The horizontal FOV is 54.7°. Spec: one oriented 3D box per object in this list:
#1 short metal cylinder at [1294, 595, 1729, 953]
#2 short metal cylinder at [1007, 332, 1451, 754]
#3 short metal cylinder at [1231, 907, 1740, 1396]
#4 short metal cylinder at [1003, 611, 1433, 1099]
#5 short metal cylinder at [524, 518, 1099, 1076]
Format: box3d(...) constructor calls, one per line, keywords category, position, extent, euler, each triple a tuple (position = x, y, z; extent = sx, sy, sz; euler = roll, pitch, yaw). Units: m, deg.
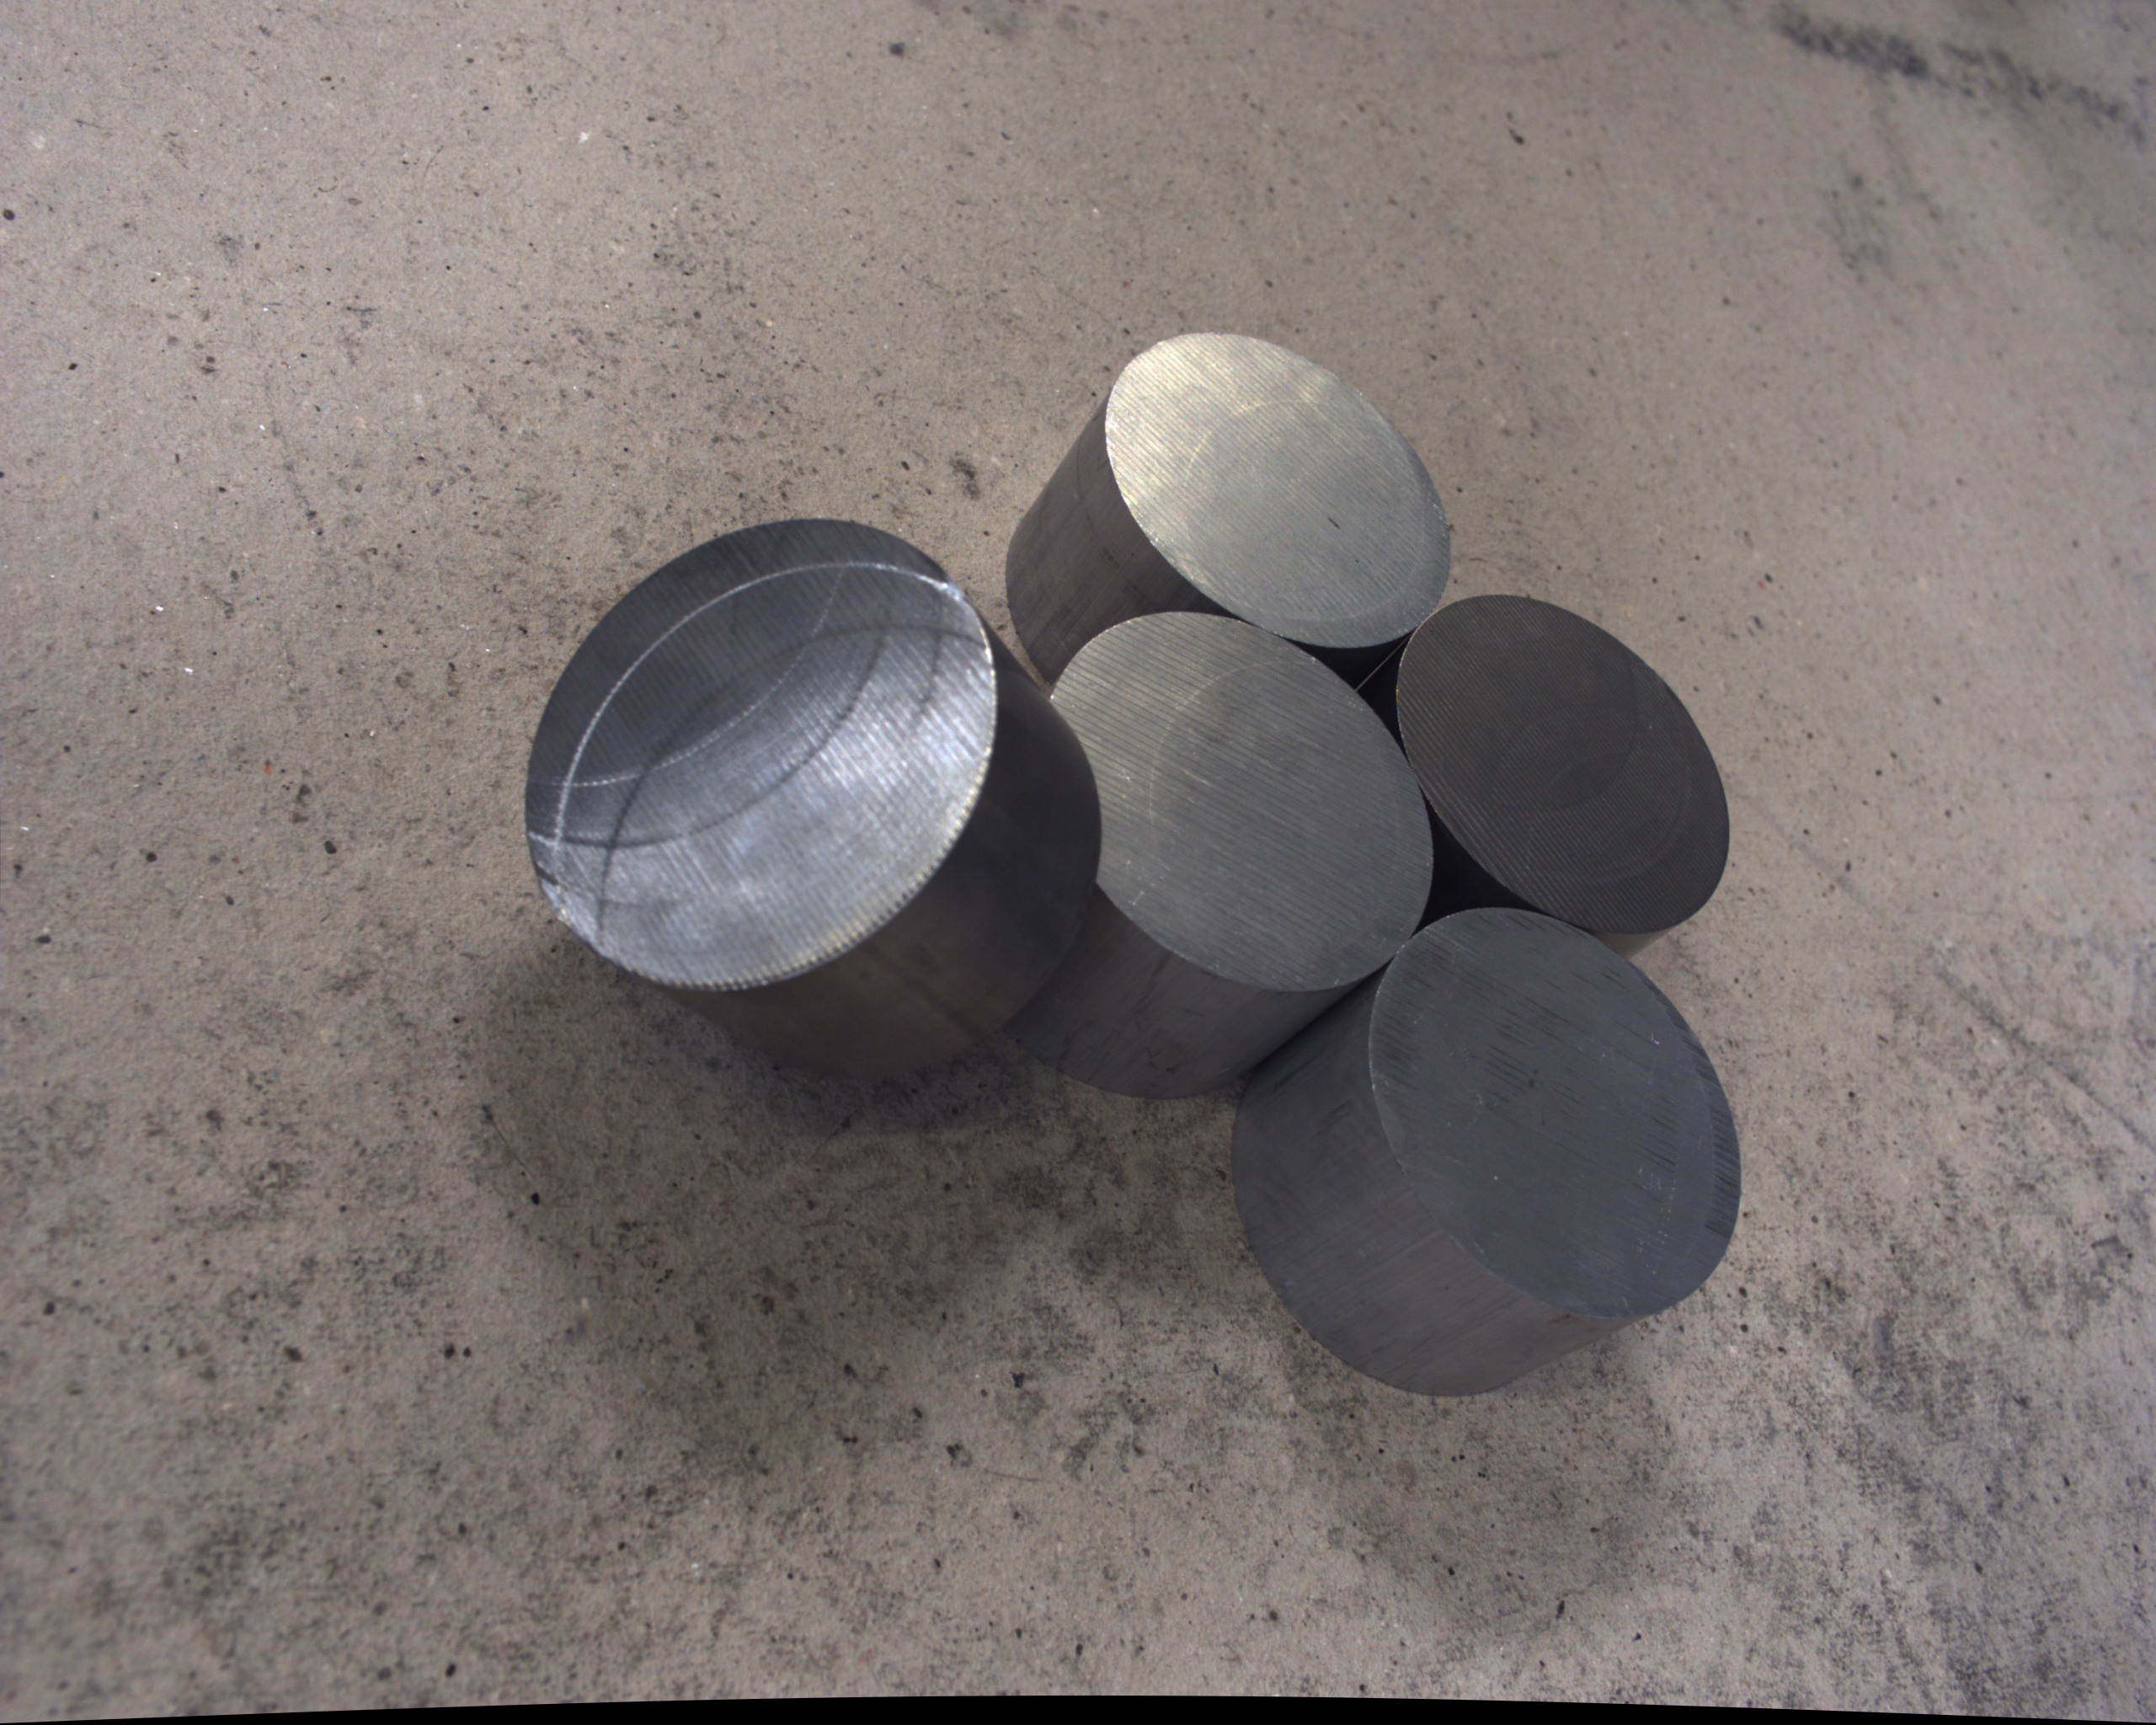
box3d(category="short metal cylinder", position=(0.089, -0.010, 0.443), extent=(0.081, 0.050, 0.080), euler=(14, 56, -21))
box3d(category="short metal cylinder", position=(0.032, -0.066, 0.446), extent=(0.081, 0.050, 0.080), euler=(14, 56, -21))
box3d(category="short metal cylinder", position=(0.077, 0.055, 0.397), extent=(0.081, 0.050, 0.080), euler=(14, 56, -21))
box3d(category="short metal cylinder", position=(0.020, -0.001, 0.400), extent=(0.081, 0.050, 0.080), euler=(14, 56, -21))
box3d(category="short metal cylinder", position=(-0.043, -0.010, 0.346), extent=(0.080, 0.050, 0.080), euler=(-7, 67, 17))
